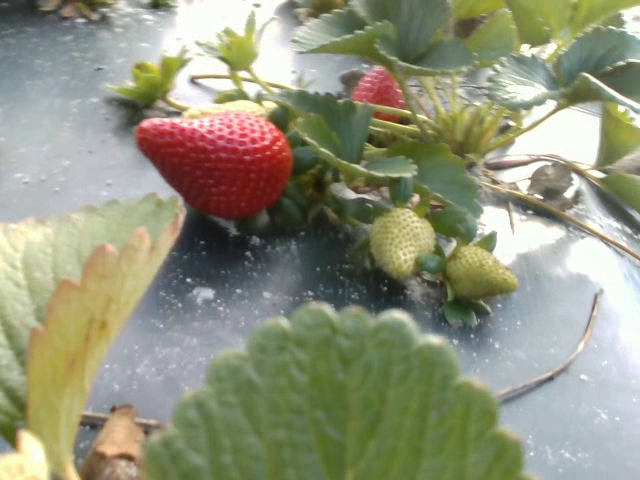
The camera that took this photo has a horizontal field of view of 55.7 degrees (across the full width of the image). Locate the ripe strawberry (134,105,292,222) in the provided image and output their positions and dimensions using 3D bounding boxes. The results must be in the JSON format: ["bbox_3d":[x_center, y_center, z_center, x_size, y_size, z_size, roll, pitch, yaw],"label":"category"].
[{"bbox_3d":[-0.045,-0.033,0.216,0.051,0.048,0.055,-9,-18,41],"label":"ripe strawberry"}]
